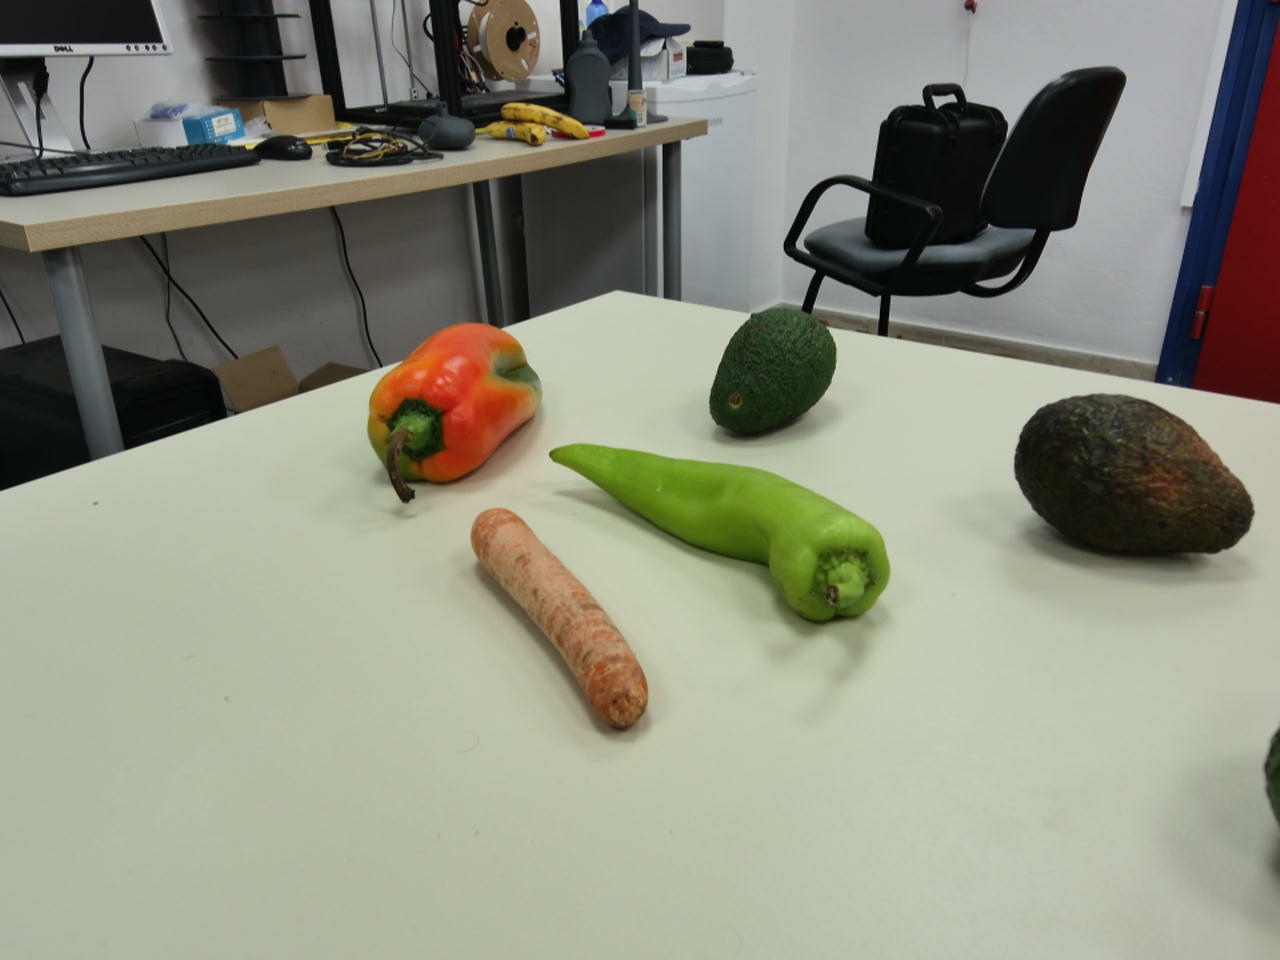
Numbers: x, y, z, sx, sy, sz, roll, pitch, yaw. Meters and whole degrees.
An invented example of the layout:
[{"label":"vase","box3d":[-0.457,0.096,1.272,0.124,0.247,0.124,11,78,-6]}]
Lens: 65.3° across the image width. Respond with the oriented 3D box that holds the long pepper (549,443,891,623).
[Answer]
[{"label":"long pepper","box3d":[0.038,0.013,0.457,0.065,0.045,0.205,-15,27,-32]}]
